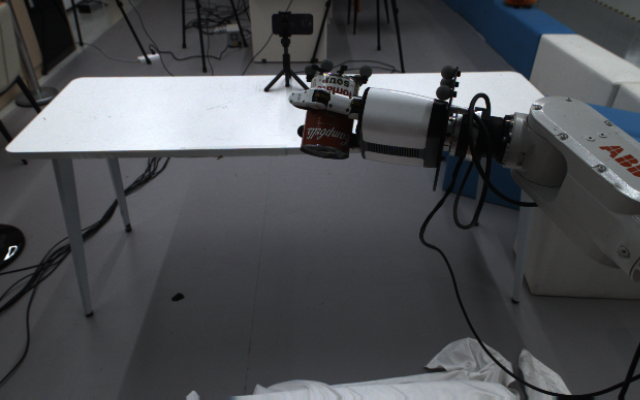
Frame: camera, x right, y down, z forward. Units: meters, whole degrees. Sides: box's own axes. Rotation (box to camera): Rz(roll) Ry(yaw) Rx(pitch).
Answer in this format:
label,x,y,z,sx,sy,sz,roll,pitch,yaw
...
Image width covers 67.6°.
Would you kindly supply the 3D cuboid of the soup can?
label,x,y,z,sx,sy,sz,roll,pitch,yaw
soup can,0.014,-0.112,0.655,0.067,0.101,0.067,9,-6,1
